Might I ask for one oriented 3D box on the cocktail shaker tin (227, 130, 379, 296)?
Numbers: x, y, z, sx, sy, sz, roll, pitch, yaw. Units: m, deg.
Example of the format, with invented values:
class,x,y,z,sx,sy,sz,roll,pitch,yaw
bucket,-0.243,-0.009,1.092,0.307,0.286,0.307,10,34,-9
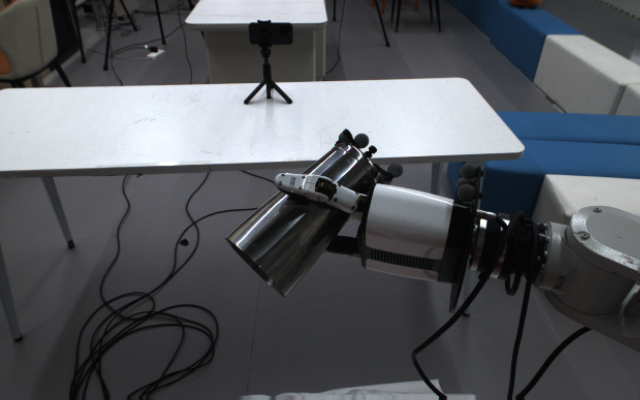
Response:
class,x,y,z,sx,sy,sz,roll,pitch,yaw
cocktail shaker tin,-0.012,0.011,0.546,0.170,0.093,0.093,-43,50,-14
